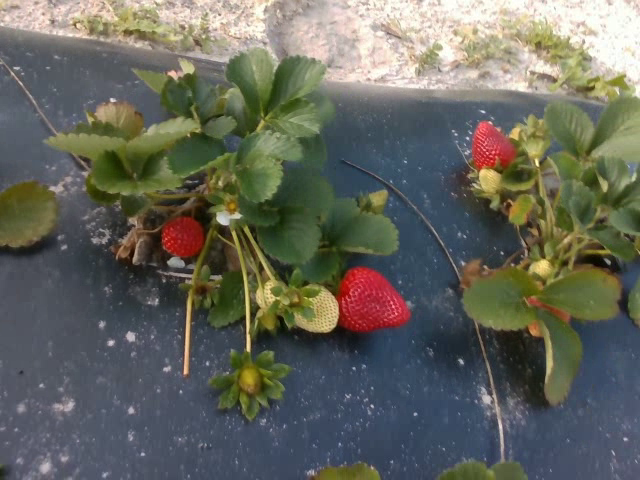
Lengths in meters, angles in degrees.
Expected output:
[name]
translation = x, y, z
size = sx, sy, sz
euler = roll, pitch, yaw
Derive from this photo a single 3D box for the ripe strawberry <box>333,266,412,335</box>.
[ripe strawberry]
translation = 0.040, 0.050, 0.441
size = 0.055, 0.051, 0.048
euler = 27, -1, 35
